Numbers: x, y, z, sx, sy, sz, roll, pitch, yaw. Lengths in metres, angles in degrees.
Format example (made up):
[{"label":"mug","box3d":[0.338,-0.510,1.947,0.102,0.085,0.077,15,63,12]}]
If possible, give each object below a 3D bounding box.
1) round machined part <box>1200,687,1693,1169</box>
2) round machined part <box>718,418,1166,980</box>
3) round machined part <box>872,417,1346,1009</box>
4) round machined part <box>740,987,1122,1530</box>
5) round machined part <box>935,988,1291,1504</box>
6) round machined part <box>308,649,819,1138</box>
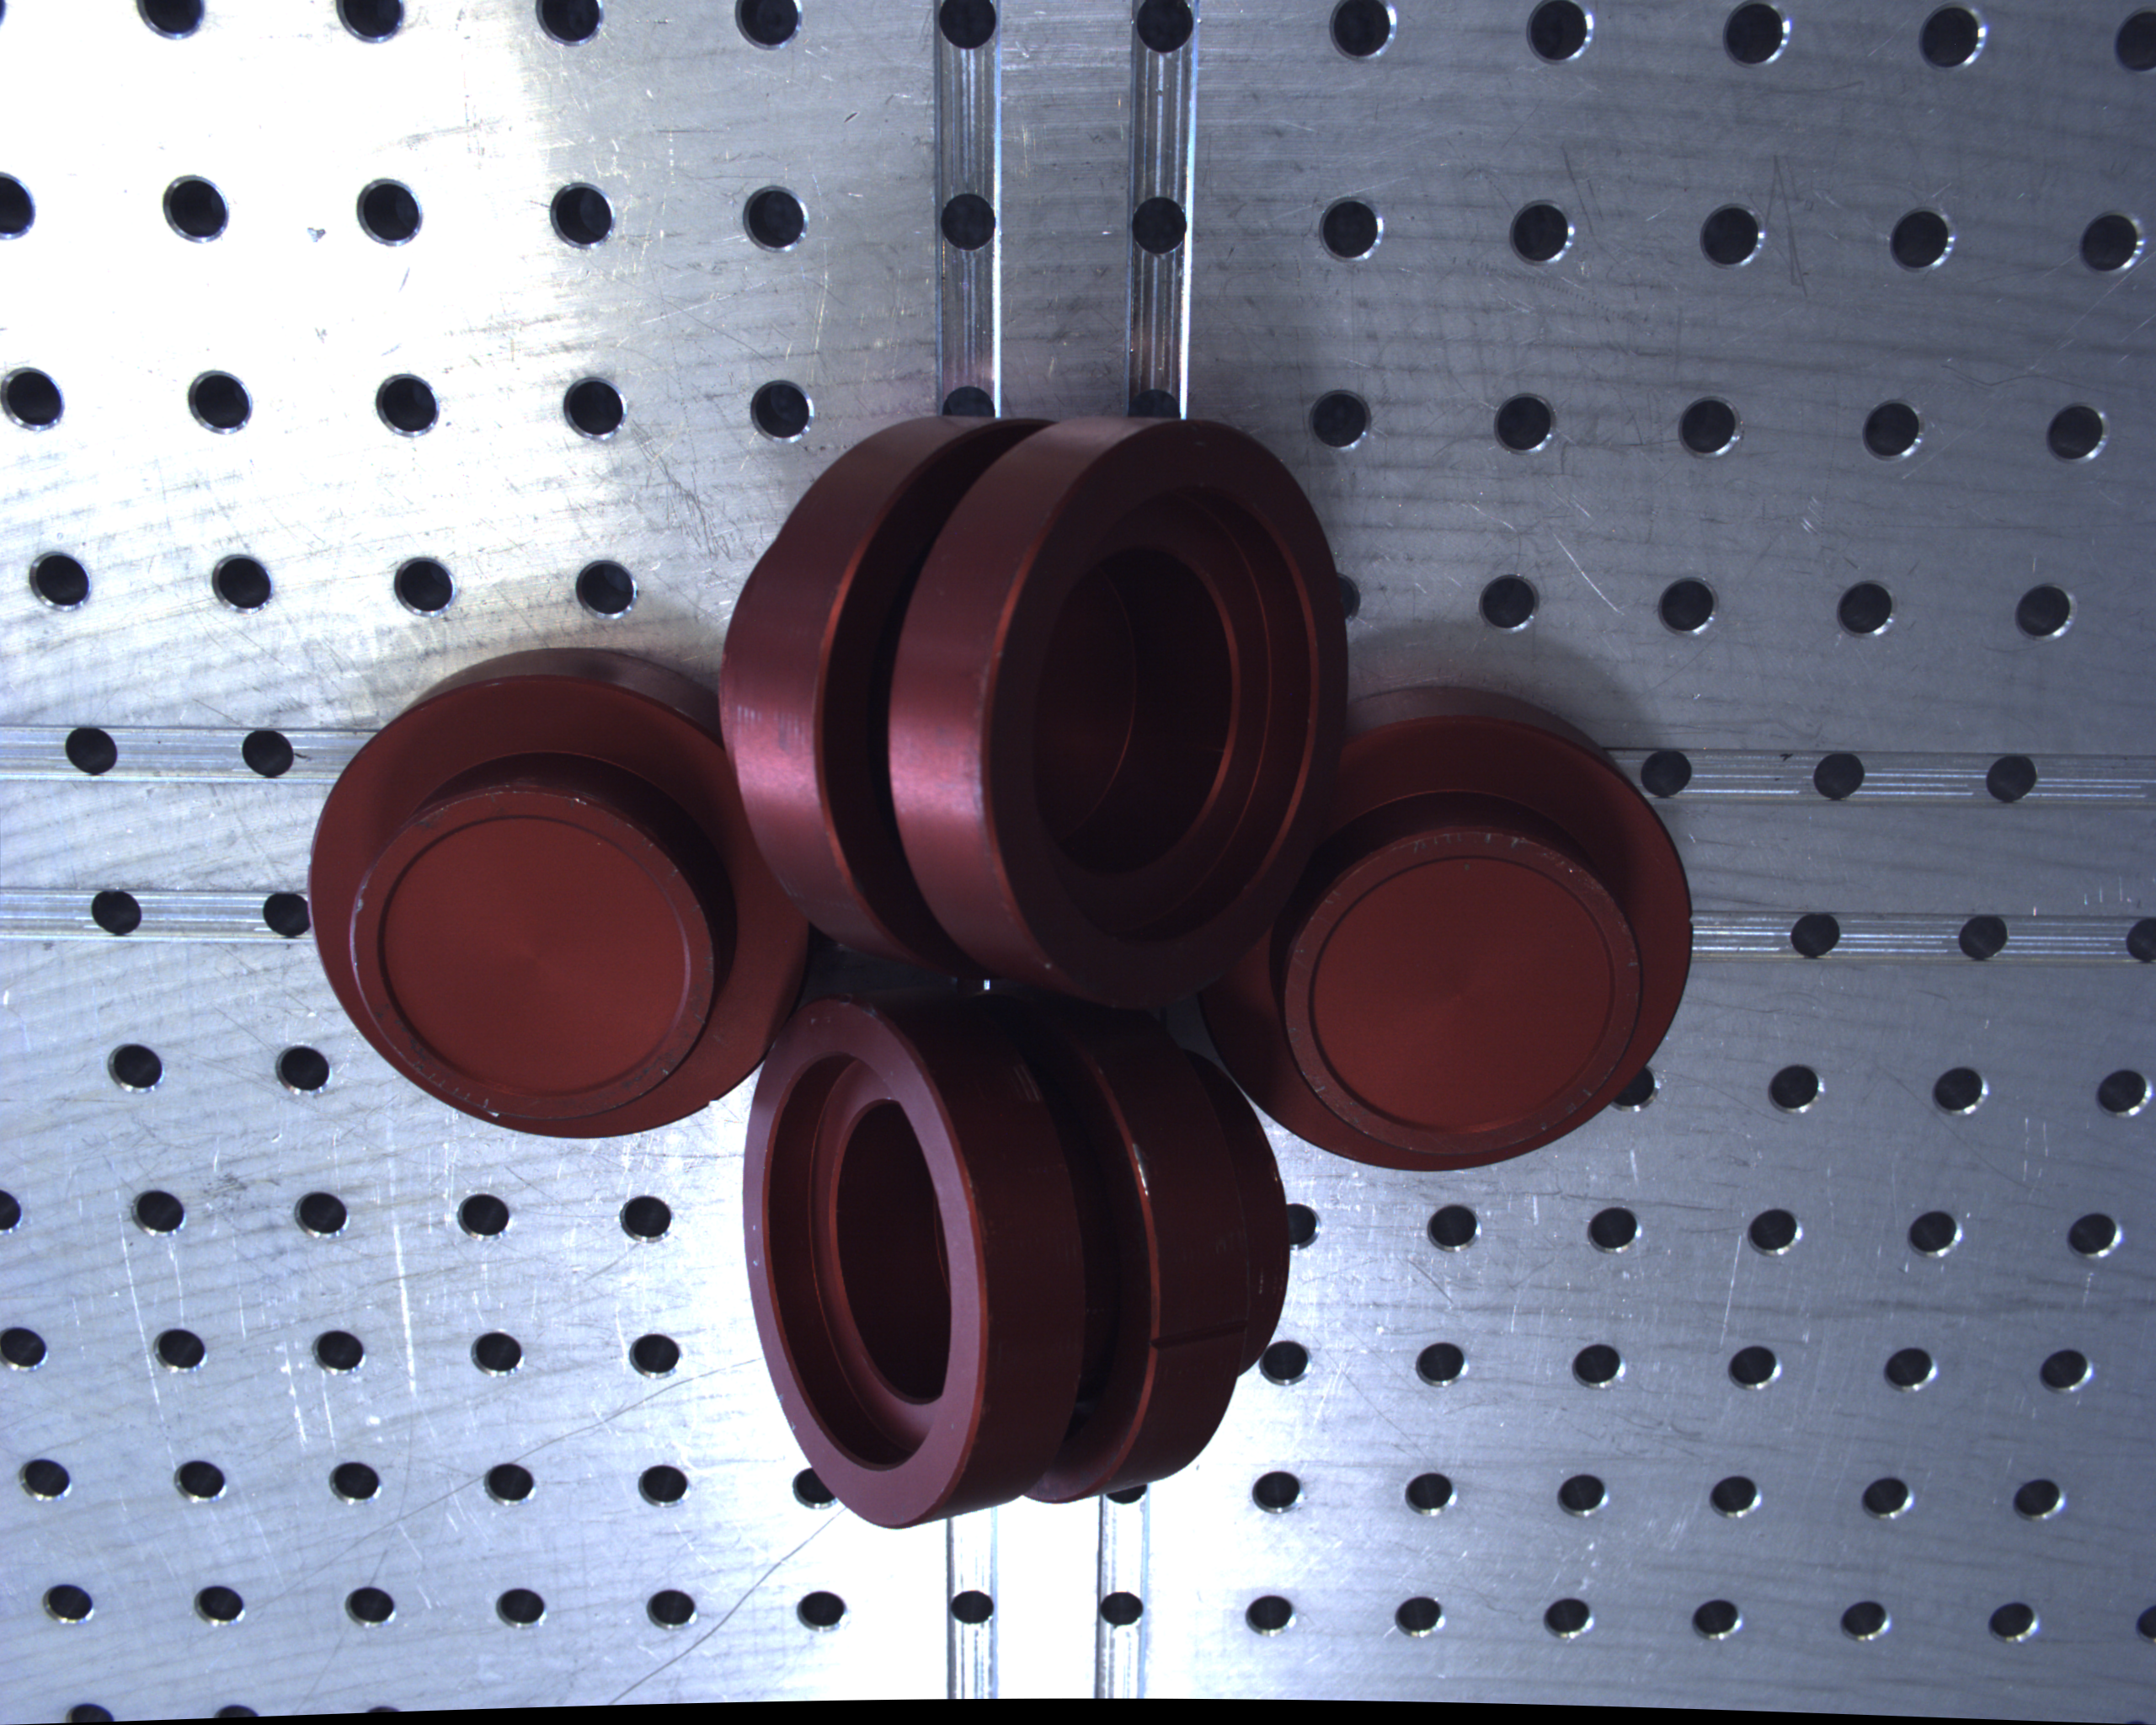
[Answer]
[{"label":"round machined part","box3d":[0.072,0.018,0.411,0.099,0.042,0.097,0,110,0]},{"label":"round machined part","box3d":[-0.025,-0.031,0.375,0.042,0.099,0.097,11,116,39]},{"label":"round machined part","box3d":[0.002,-0.027,0.357,0.042,0.099,0.097,11,116,39]},{"label":"round machined part","box3d":[-0.025,0.072,0.396,0.042,0.098,0.097,-3,114,-33]},{"label":"round machined part","box3d":[0.005,0.072,0.411,0.042,0.098,0.097,-3,114,-33]},{"label":"round machined part","box3d":[-0.101,0.011,0.407,0.099,0.042,0.097,0,110,0]}]
